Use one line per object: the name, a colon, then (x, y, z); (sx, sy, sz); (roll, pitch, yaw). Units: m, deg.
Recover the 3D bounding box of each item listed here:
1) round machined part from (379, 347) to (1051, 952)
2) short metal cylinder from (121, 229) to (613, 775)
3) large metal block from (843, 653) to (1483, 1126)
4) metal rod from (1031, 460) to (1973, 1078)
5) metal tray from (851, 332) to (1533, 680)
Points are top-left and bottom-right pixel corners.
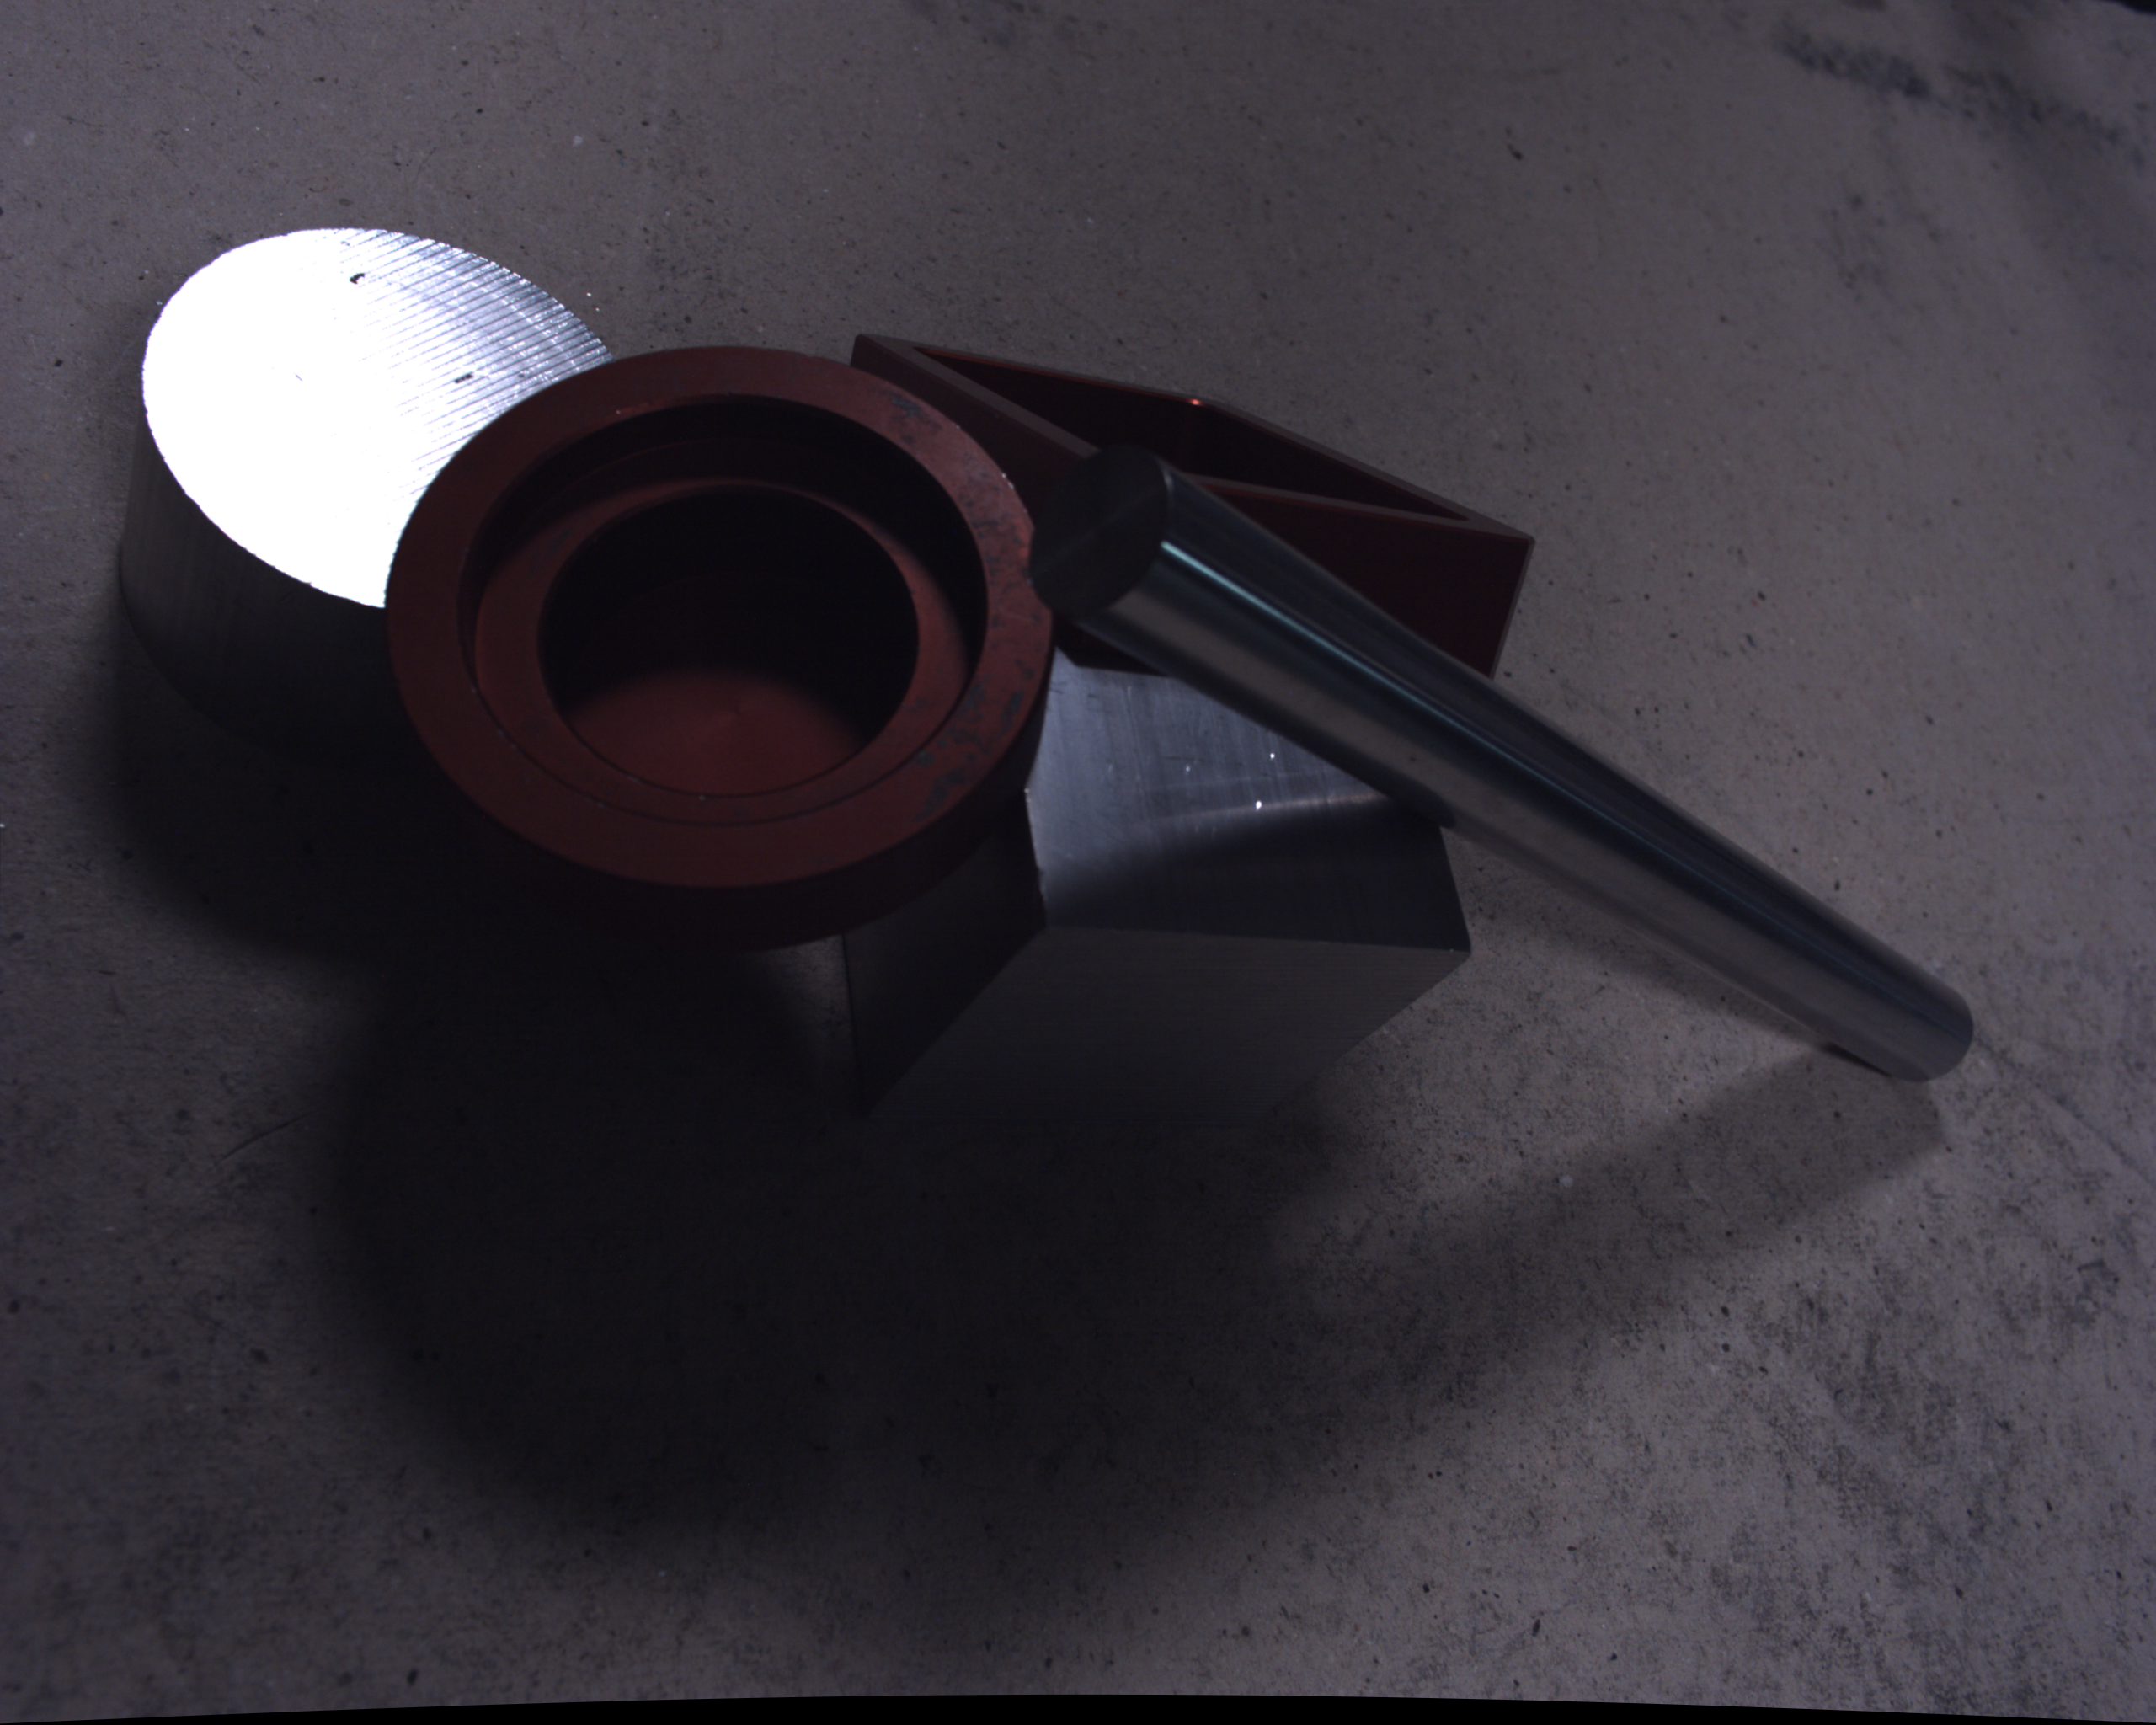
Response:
round machined part: (-0.055, -0.030, 0.327); (0.099, 0.042, 0.098); (3, 62, -5)
short metal cylinder: (-0.121, -0.062, 0.363); (0.081, 0.050, 0.080); (14, 56, -21)
large metal block: (0.011, 0.009, 0.372); (0.081, 0.080, 0.050); (4, 60, -26)
metal rod: (0.101, -0.002, 0.387); (0.301, 0.025, 0.025); (23, 49, -45)
metal tray: (0.014, -0.070, 0.406); (0.091, 0.030, 0.130); (4, 20, -26)
